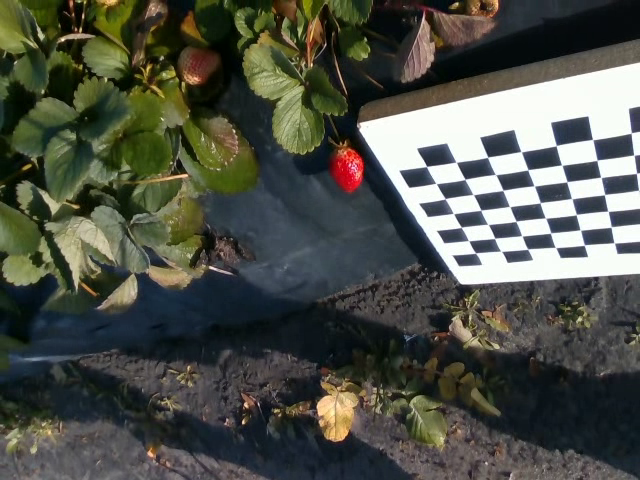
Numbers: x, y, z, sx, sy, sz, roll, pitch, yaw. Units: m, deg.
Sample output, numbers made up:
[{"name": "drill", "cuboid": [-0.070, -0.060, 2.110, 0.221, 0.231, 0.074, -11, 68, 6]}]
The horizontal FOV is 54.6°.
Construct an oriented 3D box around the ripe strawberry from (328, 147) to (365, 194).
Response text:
[{"name": "ripe strawberry", "cuboid": [0.021, -0.052, 0.456, 0.034, 0.038, 0.033, -7, 4, 30]}]
